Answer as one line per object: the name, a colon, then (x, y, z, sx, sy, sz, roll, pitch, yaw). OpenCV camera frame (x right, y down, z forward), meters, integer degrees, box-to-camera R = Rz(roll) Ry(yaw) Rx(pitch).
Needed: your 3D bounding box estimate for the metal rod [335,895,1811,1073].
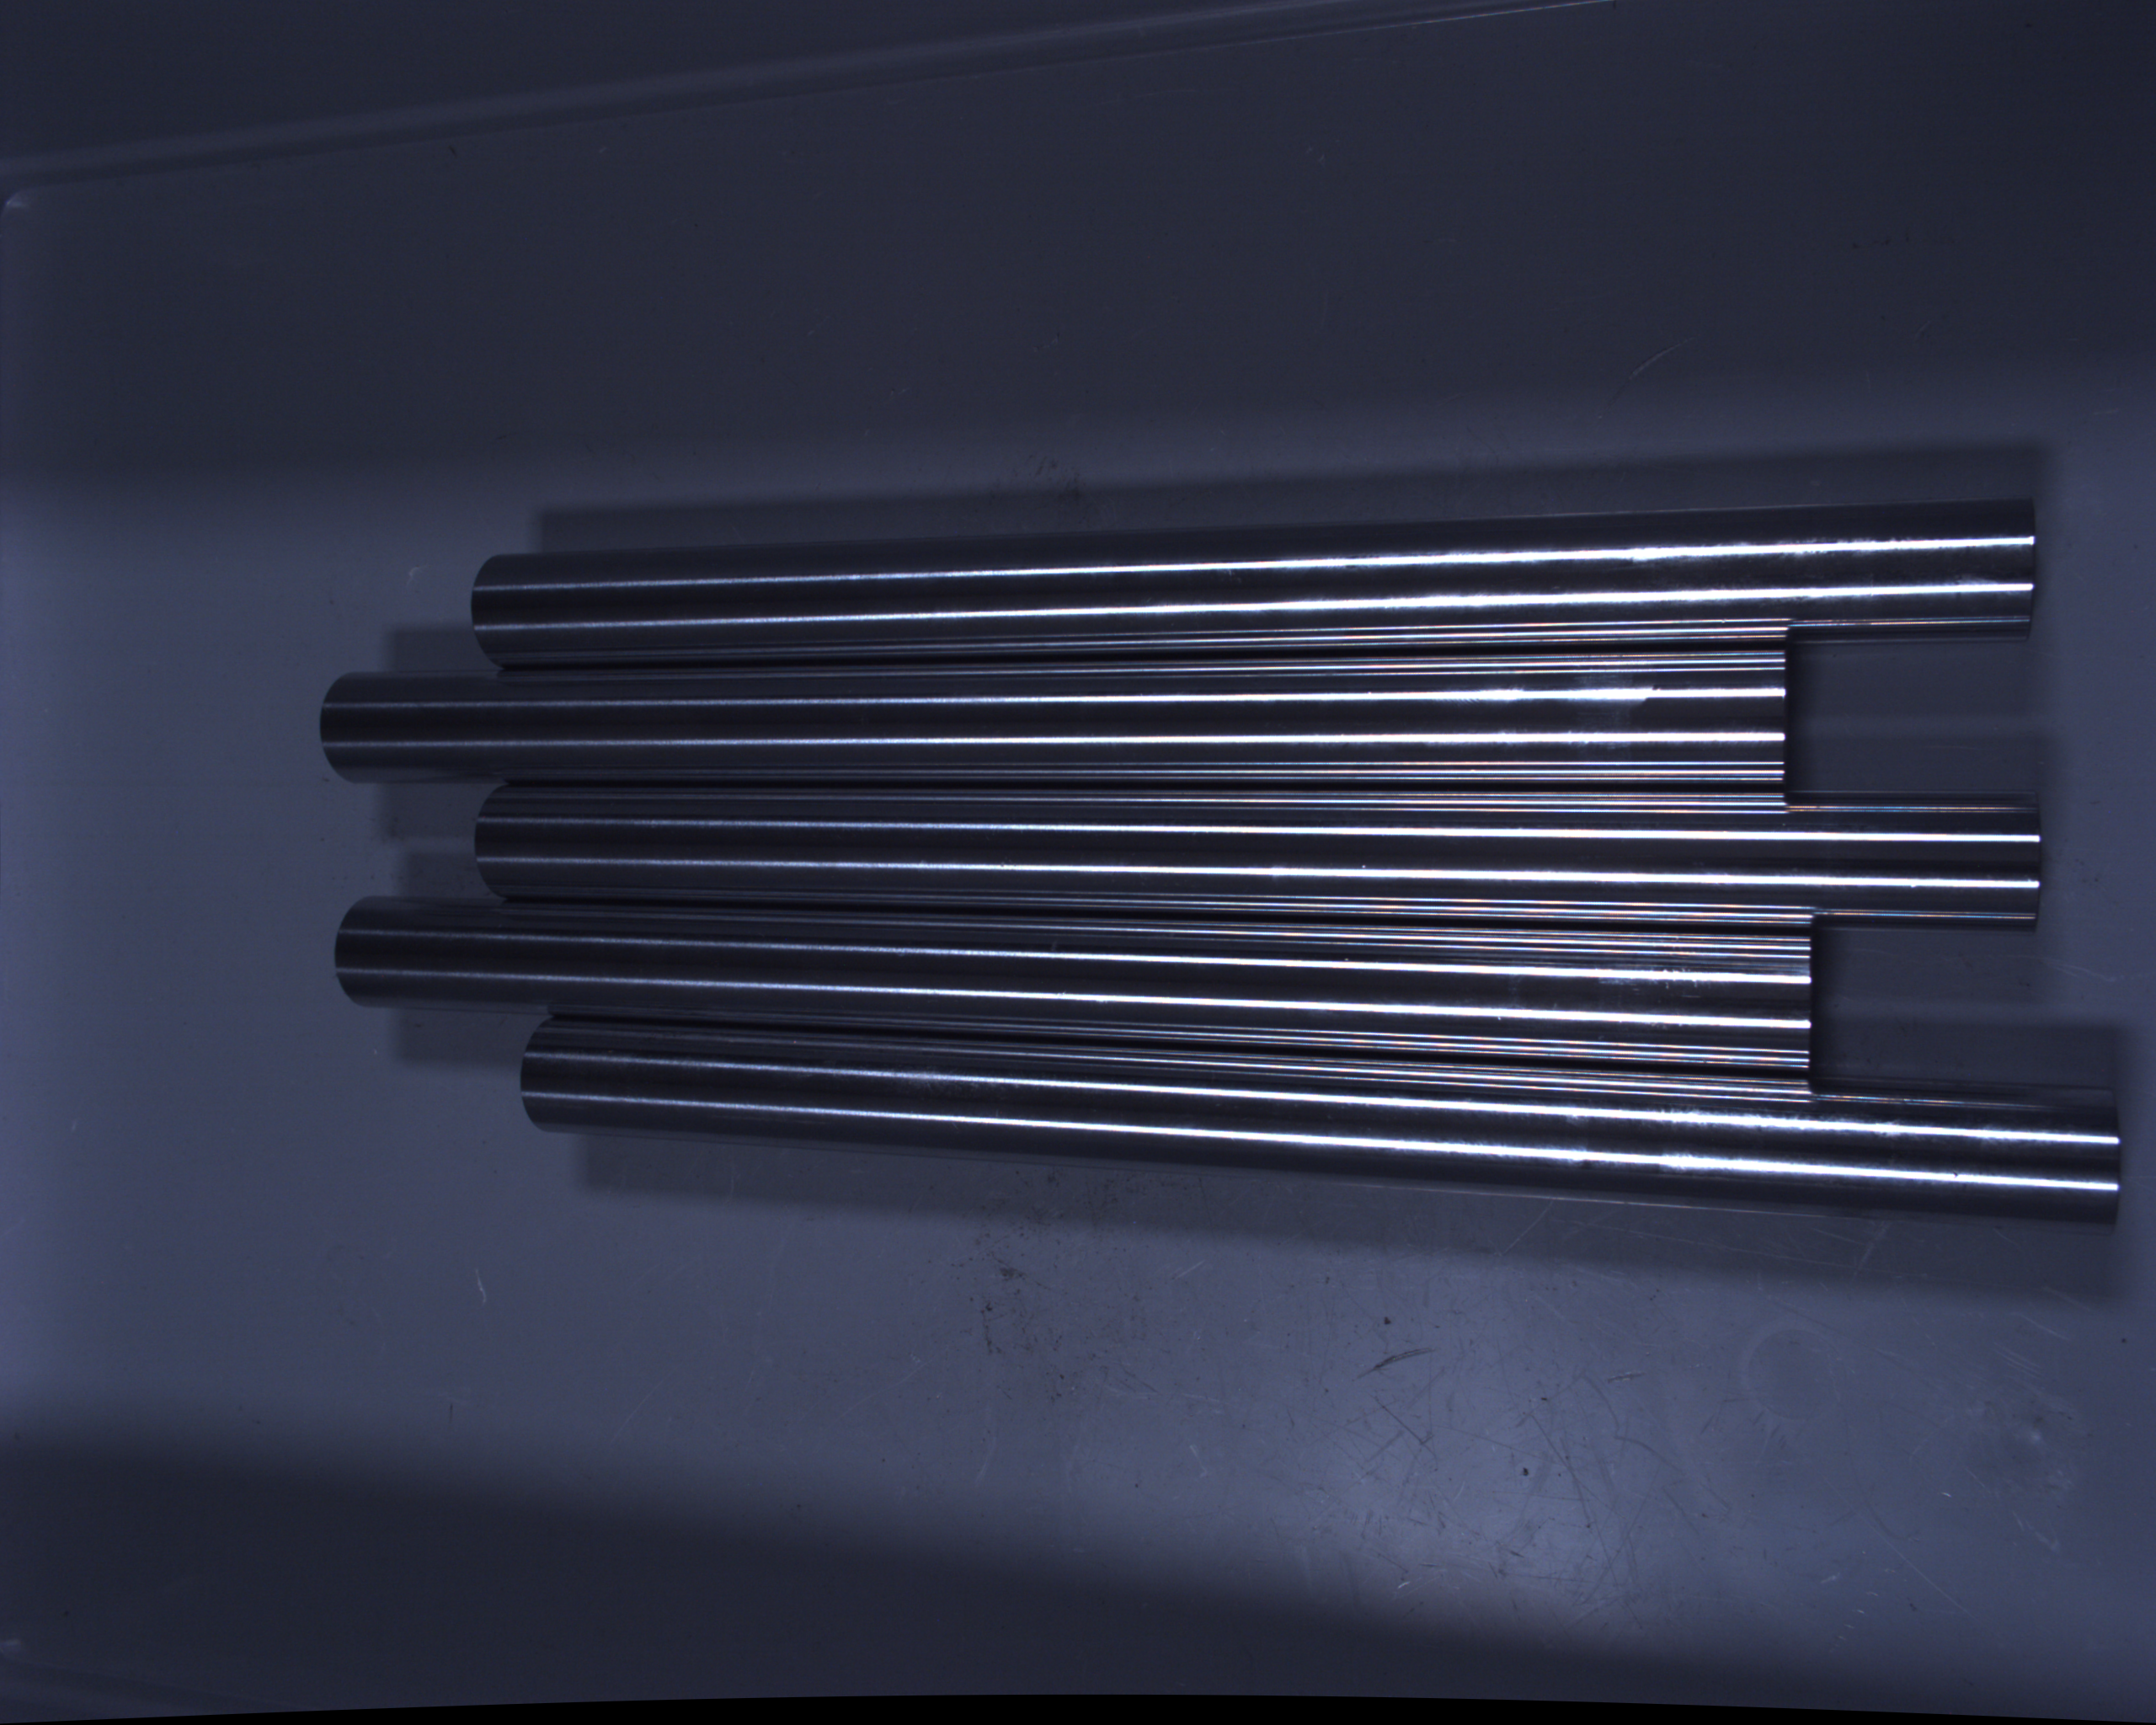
metal rod: (-0.014, 0.022, 0.413, 0.301, 0.025, 0.025, 1, 90, 19)

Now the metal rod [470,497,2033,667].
metal rod: (0.018, -0.052, 0.402, 0.301, 0.025, 0.025, 1, 90, 19)

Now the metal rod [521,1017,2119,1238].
metal rod: (0.030, 0.048, 0.398, 0.301, 0.025, 0.025, 1, 90, 19)

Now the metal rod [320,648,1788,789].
metal rod: (-0.018, -0.028, 0.414, 0.301, 0.025, 0.025, 1, 90, 19)

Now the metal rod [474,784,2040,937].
metal rod: (0.019, -0.002, 0.402, 0.301, 0.025, 0.025, 1, 90, 19)
